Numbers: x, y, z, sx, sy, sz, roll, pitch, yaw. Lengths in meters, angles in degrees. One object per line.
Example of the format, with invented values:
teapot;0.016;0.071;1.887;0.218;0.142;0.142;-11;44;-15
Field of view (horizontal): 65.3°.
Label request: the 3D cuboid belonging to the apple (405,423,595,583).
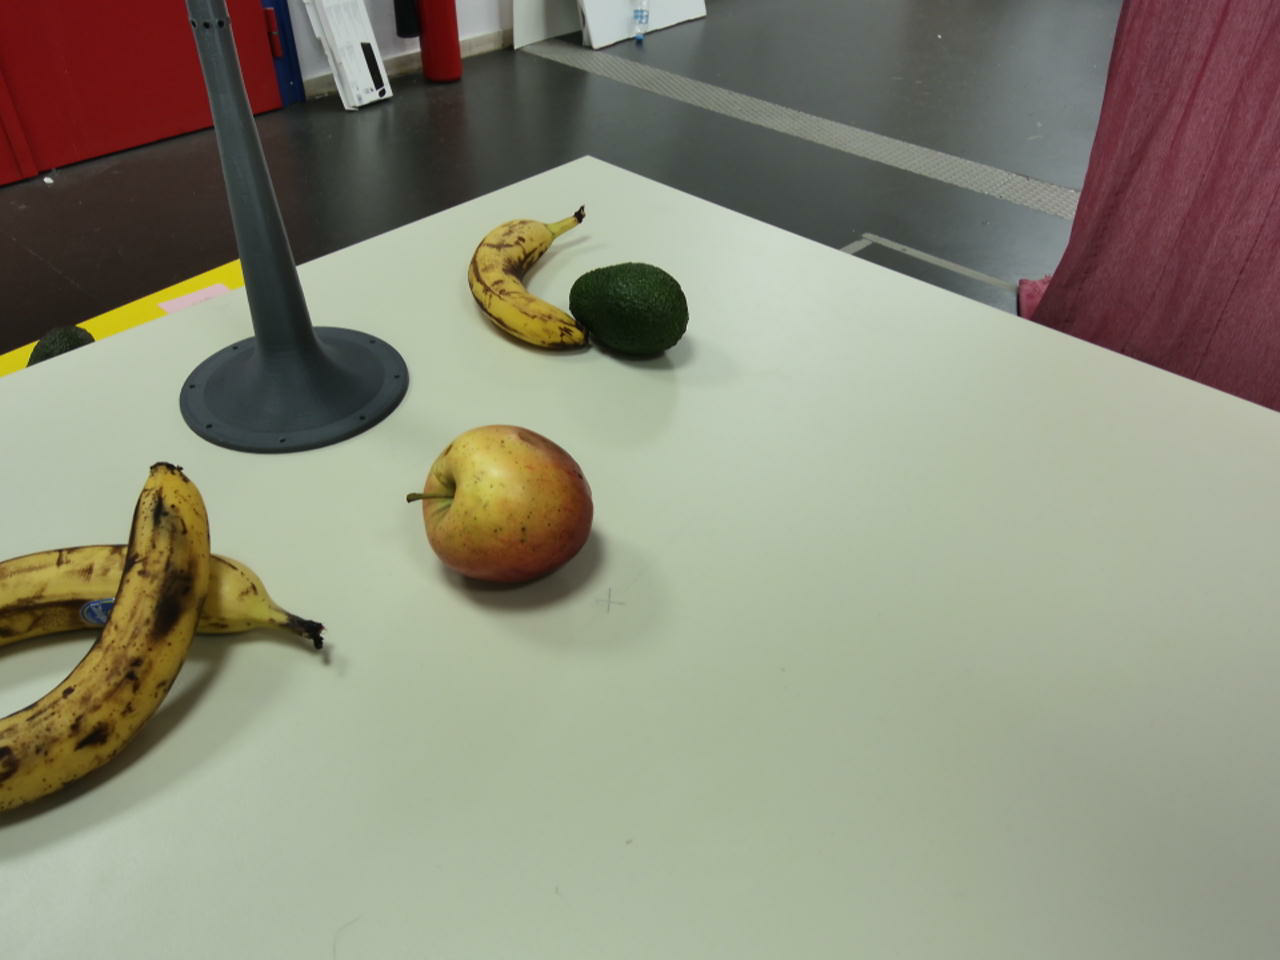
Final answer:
apple;-0.072;0.013;0.538;0.093;0.084;0.086;5;37;4
